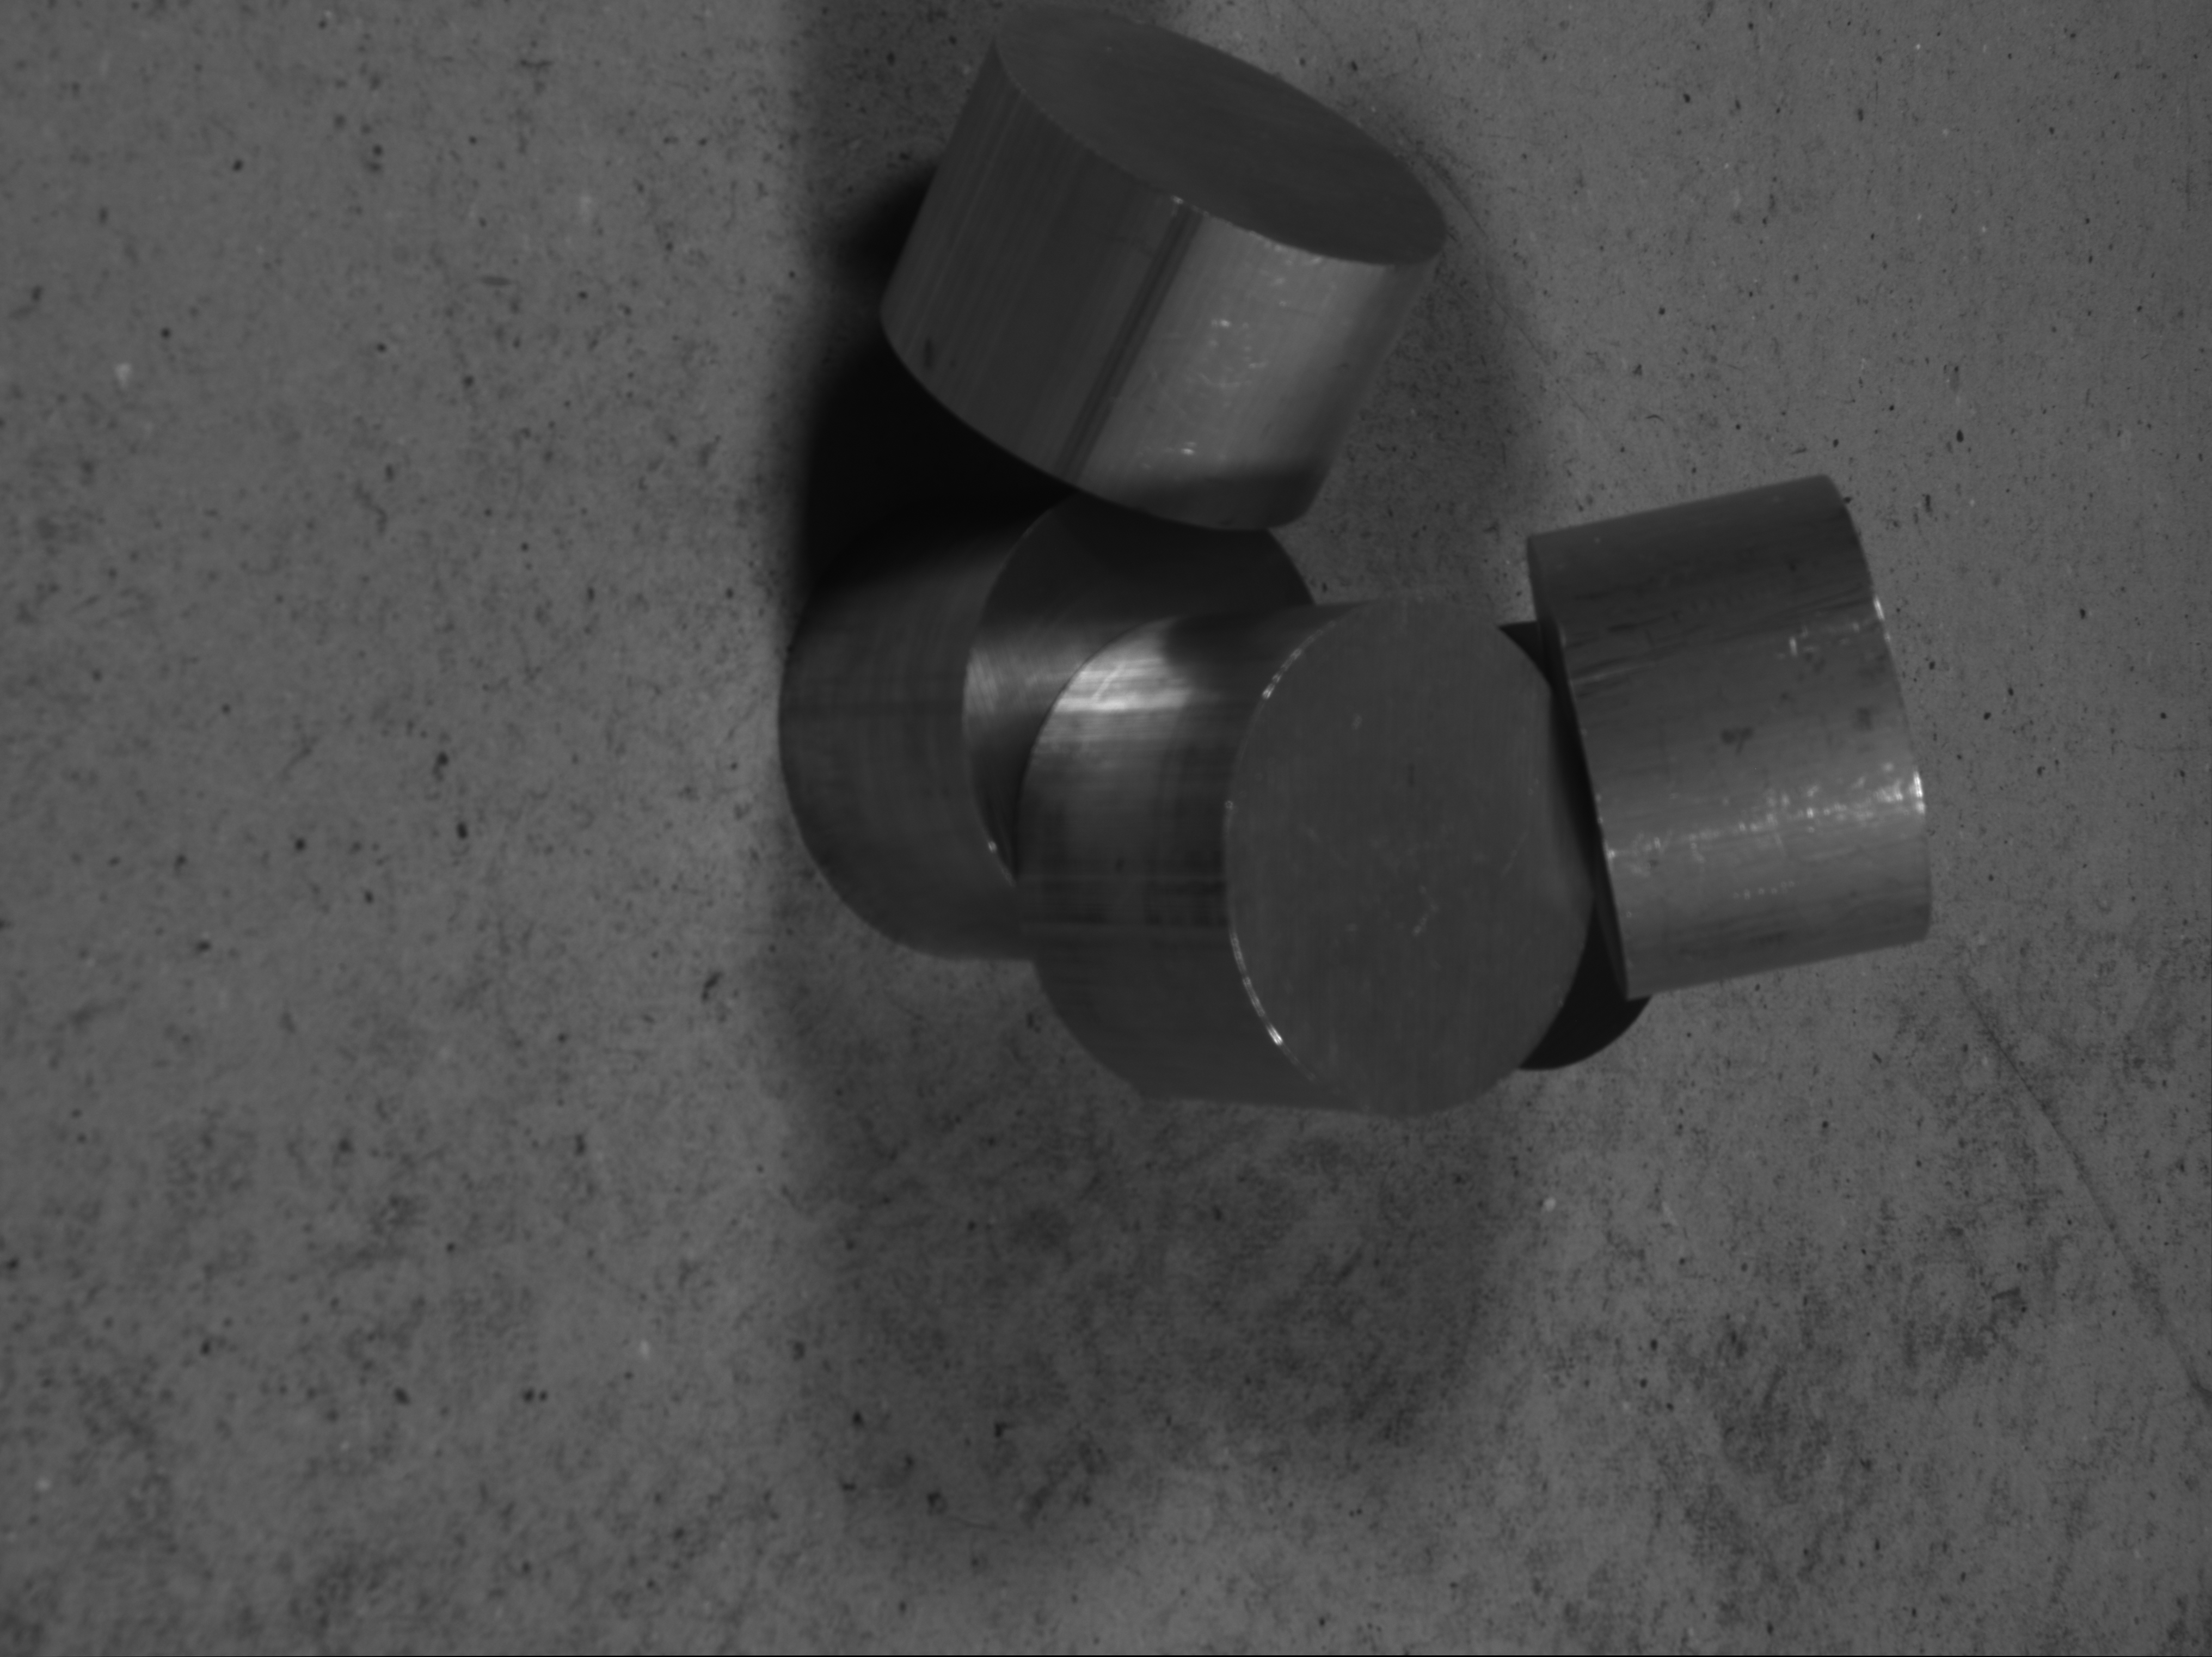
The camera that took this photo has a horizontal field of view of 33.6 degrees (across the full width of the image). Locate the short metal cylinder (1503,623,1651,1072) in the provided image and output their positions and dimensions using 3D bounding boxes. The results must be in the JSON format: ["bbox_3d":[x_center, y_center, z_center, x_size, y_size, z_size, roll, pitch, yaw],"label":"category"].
[{"bbox_3d":[0.063,0.003,0.673,0.080,0.050,0.080,0,90,-40],"label":"short metal cylinder"}]

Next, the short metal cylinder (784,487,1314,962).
[{"bbox_3d":[-0.007,-0.017,0.615,0.080,0.050,0.080,0,90,-40],"label":"short metal cylinder"}]

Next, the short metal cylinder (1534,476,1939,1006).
[{"bbox_3d":[0.105,-0.015,0.615,0.050,0.080,0.080,-12,101,4],"label":"short metal cylinder"}]

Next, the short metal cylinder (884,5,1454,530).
[{"bbox_3d":[0.010,-0.093,0.602,0.080,0.080,0.050,0,129,-40],"label":"short metal cylinder"}]

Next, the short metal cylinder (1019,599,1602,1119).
[{"bbox_3d":[0.033,0.005,0.583,0.080,0.050,0.080,0,90,-40],"label":"short metal cylinder"}]
